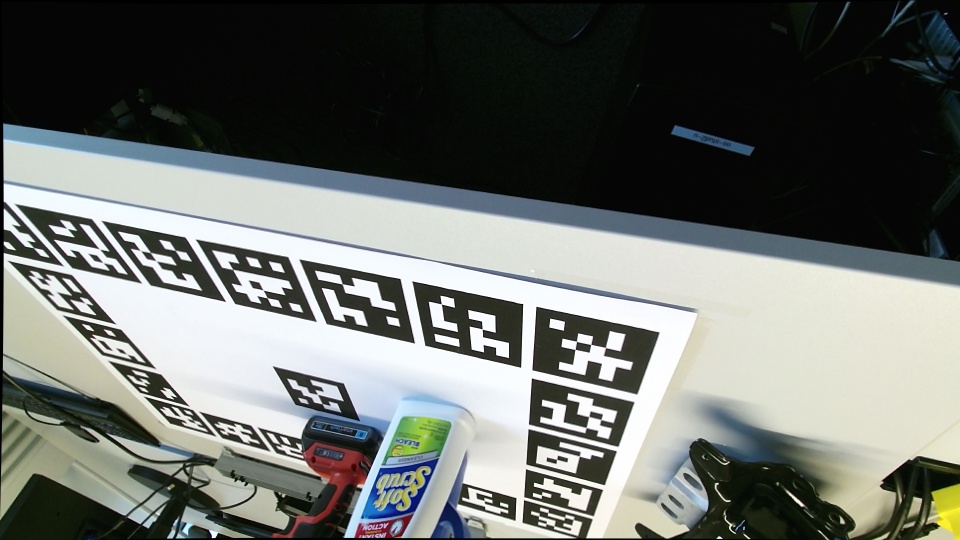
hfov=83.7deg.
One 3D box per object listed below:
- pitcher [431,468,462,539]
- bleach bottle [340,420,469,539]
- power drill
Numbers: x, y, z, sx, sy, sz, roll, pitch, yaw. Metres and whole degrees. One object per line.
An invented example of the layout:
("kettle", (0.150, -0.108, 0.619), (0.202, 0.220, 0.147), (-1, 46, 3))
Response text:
("pitcher", (-0.097, 0.341, 0.650), (0.189, 0.241, 0.133), (-12, 126, 30))
("bleach bottle", (-0.094, 0.284, 0.562), (0.103, 0.250, 0.068), (4, 134, 17))
("power drill", (-0.256, 0.319, 0.705), (0.185, 0.186, 0.057), (10, 133, 20))
